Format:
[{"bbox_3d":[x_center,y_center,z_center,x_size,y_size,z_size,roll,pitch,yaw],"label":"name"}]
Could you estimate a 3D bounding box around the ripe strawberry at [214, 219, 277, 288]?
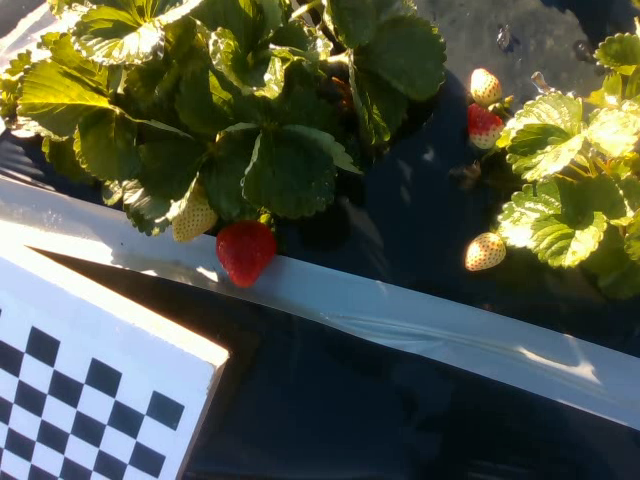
[{"bbox_3d":[-0.052,0.010,0.399,0.048,0.064,0.045,34,-59,-29],"label":"ripe strawberry"}]
